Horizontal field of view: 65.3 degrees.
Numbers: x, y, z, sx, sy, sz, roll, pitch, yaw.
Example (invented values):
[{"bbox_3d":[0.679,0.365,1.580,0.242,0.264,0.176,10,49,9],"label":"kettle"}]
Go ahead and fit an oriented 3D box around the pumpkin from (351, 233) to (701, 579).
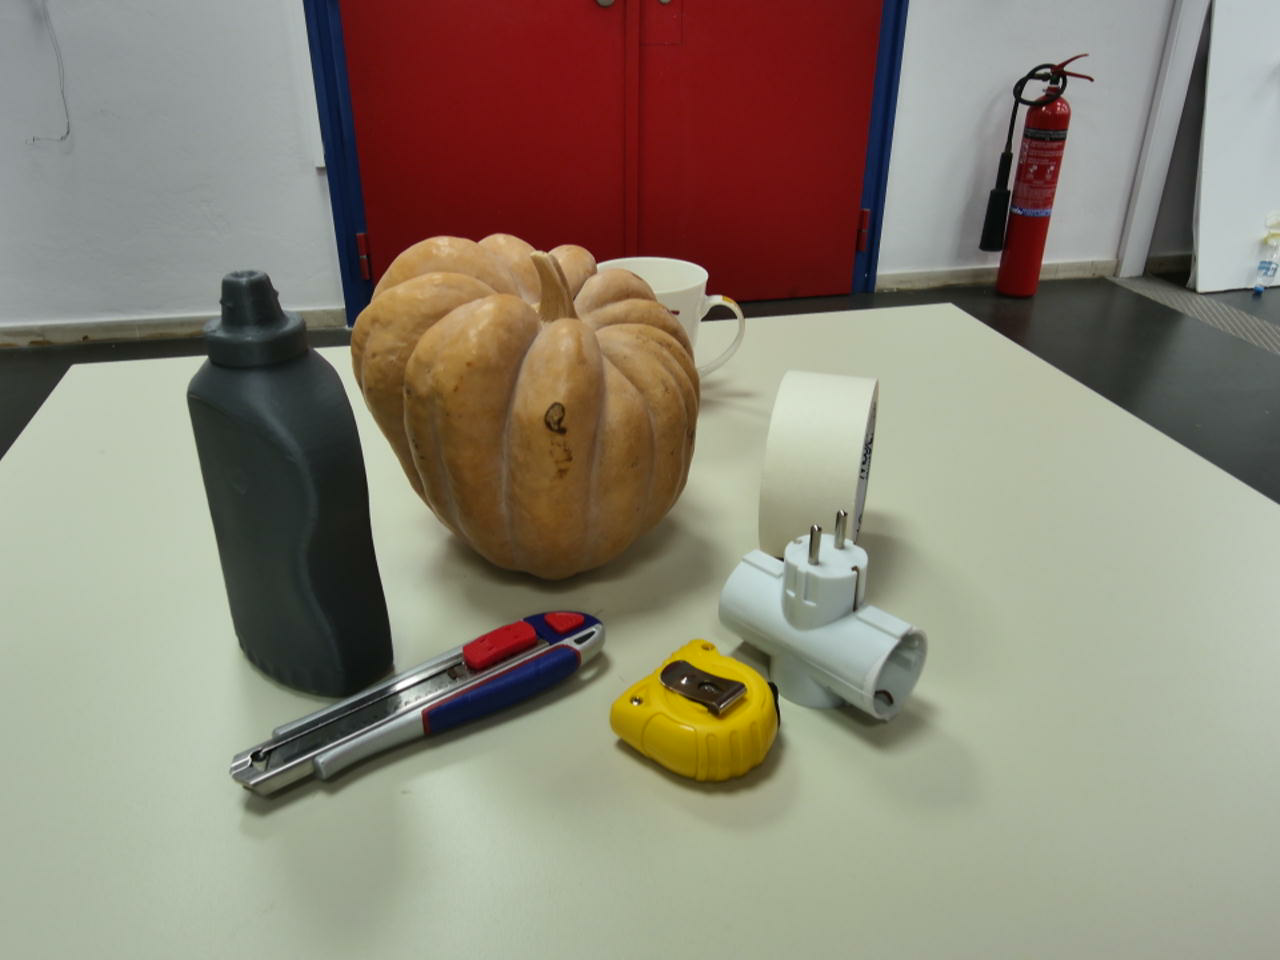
[{"bbox_3d":[-0.059,-0.043,0.556,0.199,0.177,0.198,0,27,0],"label":"pumpkin"}]
